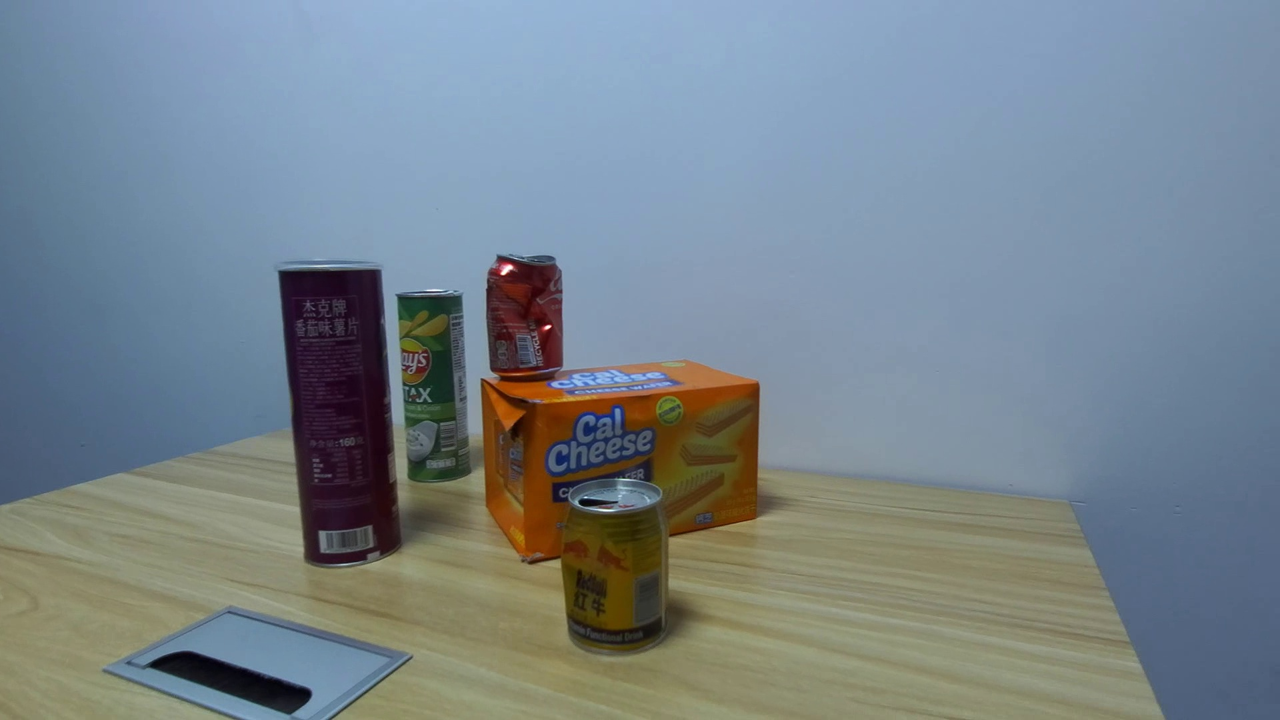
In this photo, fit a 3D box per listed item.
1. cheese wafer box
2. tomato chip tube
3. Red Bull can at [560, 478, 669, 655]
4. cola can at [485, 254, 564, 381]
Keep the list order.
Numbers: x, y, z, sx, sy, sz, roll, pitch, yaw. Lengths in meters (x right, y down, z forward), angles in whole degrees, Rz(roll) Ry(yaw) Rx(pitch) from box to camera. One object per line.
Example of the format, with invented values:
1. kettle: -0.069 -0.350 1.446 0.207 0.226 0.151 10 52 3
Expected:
1. cheese wafer box: -0.021 0.077 0.646 0.228 0.137 0.149 -5 10 -24
2. tomato chip tube: -0.240 0.042 0.569 0.078 0.233 0.078 -1 9 0
3. Red Bull can: -0.015 0.129 0.450 0.069 0.092 0.069 0 10 0
4. cola can: -0.105 -0.040 0.642 0.069 0.112 0.065 0 10 -6
